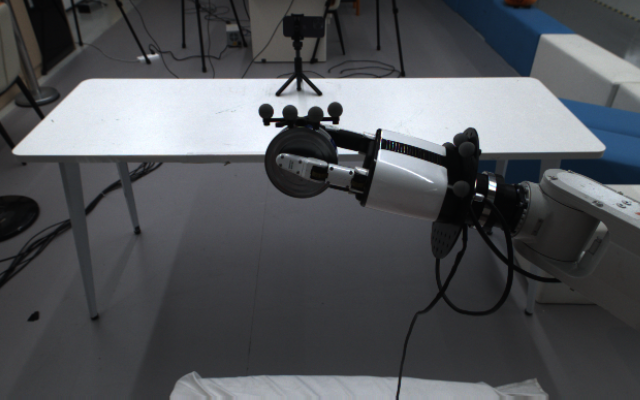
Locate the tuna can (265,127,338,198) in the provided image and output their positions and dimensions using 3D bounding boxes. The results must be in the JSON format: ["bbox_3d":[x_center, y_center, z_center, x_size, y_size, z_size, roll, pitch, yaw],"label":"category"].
[{"bbox_3d":[-0.018,-0.043,0.572,0.085,0.085,0.034,4,18,3],"label":"tuna can"}]
